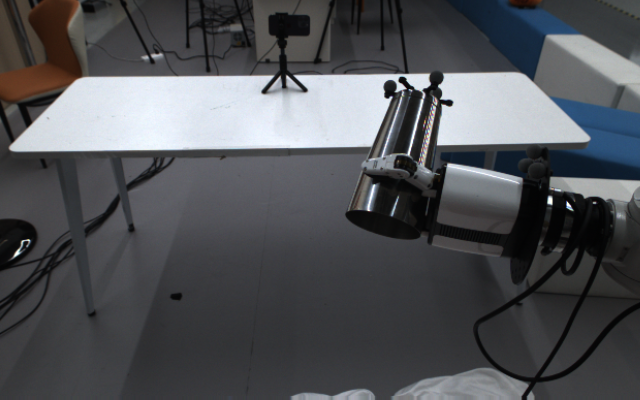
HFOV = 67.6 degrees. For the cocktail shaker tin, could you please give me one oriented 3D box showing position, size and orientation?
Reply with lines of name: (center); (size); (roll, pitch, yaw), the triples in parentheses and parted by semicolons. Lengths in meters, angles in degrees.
cocktail shaker tin: (0.098, -0.047, 0.598); (0.093, 0.093, 0.170); (14, 72, 16)
